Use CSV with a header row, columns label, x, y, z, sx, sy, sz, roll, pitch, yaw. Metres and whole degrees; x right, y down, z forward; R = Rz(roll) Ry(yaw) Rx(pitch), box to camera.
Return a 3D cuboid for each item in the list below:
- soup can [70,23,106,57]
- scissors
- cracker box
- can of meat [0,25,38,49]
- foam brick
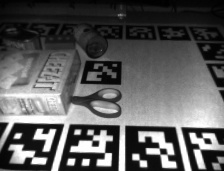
label,x,y,z,sx,sy,sz,roll,pitch,yaw
soup can,-0.072,-0.135,0.638,0.068,0.068,0.100,-27,45,-24
scissors,-0.092,0.033,0.476,0.203,0.016,0.087,-2,45,-3
cracker box,-0.206,-0.016,0.480,0.213,0.072,0.163,-5,44,0
can of meat,-0.252,-0.111,0.584,0.101,0.084,0.058,11,46,11
foam brick,-0.155,-0.118,0.620,0.078,0.051,0.052,-6,46,-6
